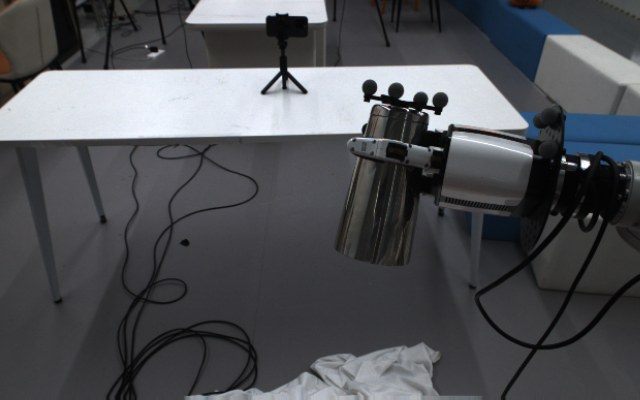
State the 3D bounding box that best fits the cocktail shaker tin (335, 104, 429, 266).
[{"bbox_3d":[0.080,-0.022,0.563,0.093,0.170,0.093,10,9,-2],"label":"cocktail shaker tin"}]
